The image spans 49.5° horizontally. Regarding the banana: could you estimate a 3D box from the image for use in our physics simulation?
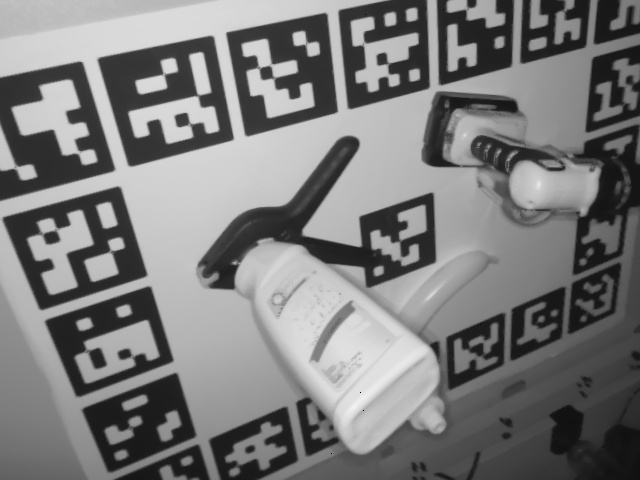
[{"bbox_3d":[0.181,0.099,0.858,0.197,0.038,0.075,-51,141,4],"label":"banana"}]

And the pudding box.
[{"bbox_3d":[0.293,-0.062,0.810,0.115,0.090,0.038,-13,126,-18],"label":"pudding box"}]

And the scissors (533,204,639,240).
[{"bbox_3d":[0.326,-0.032,0.763,0.205,0.016,0.087,8,106,-24],"label":"scissors"}]

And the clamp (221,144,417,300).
[{"bbox_3d":[-0.004,0.008,0.716,0.204,0.036,0.164,-23,120,-12],"label":"clamp"}]

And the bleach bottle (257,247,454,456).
[{"bbox_3d":[0.005,0.075,0.627,0.103,0.249,0.068,-37,128,-12],"label":"bleach bottle"}]

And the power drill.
[{"bbox_3d":[0.257,-0.085,0.689,0.187,0.186,0.057,-6,124,-26],"label":"power drill"}]

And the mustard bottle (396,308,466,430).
[{"bbox_3d":[0.104,0.145,0.765,0.097,0.191,0.058,-4,116,-22],"label":"mustard bottle"}]
